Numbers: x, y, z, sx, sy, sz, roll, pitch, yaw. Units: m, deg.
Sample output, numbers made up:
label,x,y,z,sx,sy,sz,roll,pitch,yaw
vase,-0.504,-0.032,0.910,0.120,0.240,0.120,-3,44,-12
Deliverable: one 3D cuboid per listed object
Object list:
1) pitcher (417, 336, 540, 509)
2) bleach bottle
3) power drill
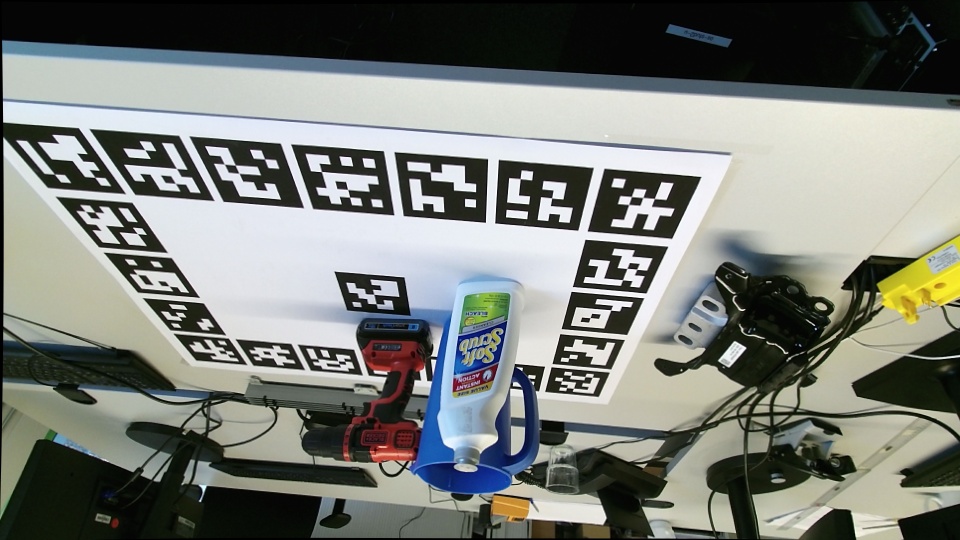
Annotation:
label,x,y,z,sx,sy,sz,roll,pitch,yaw
pitcher,-0.004,0.207,0.781,0.189,0.241,0.133,-15,134,23
bleach bottle,0.006,0.158,0.690,0.103,0.249,0.068,-2,139,8
power drill,-0.171,0.201,0.810,0.185,0.186,0.057,4,137,11
